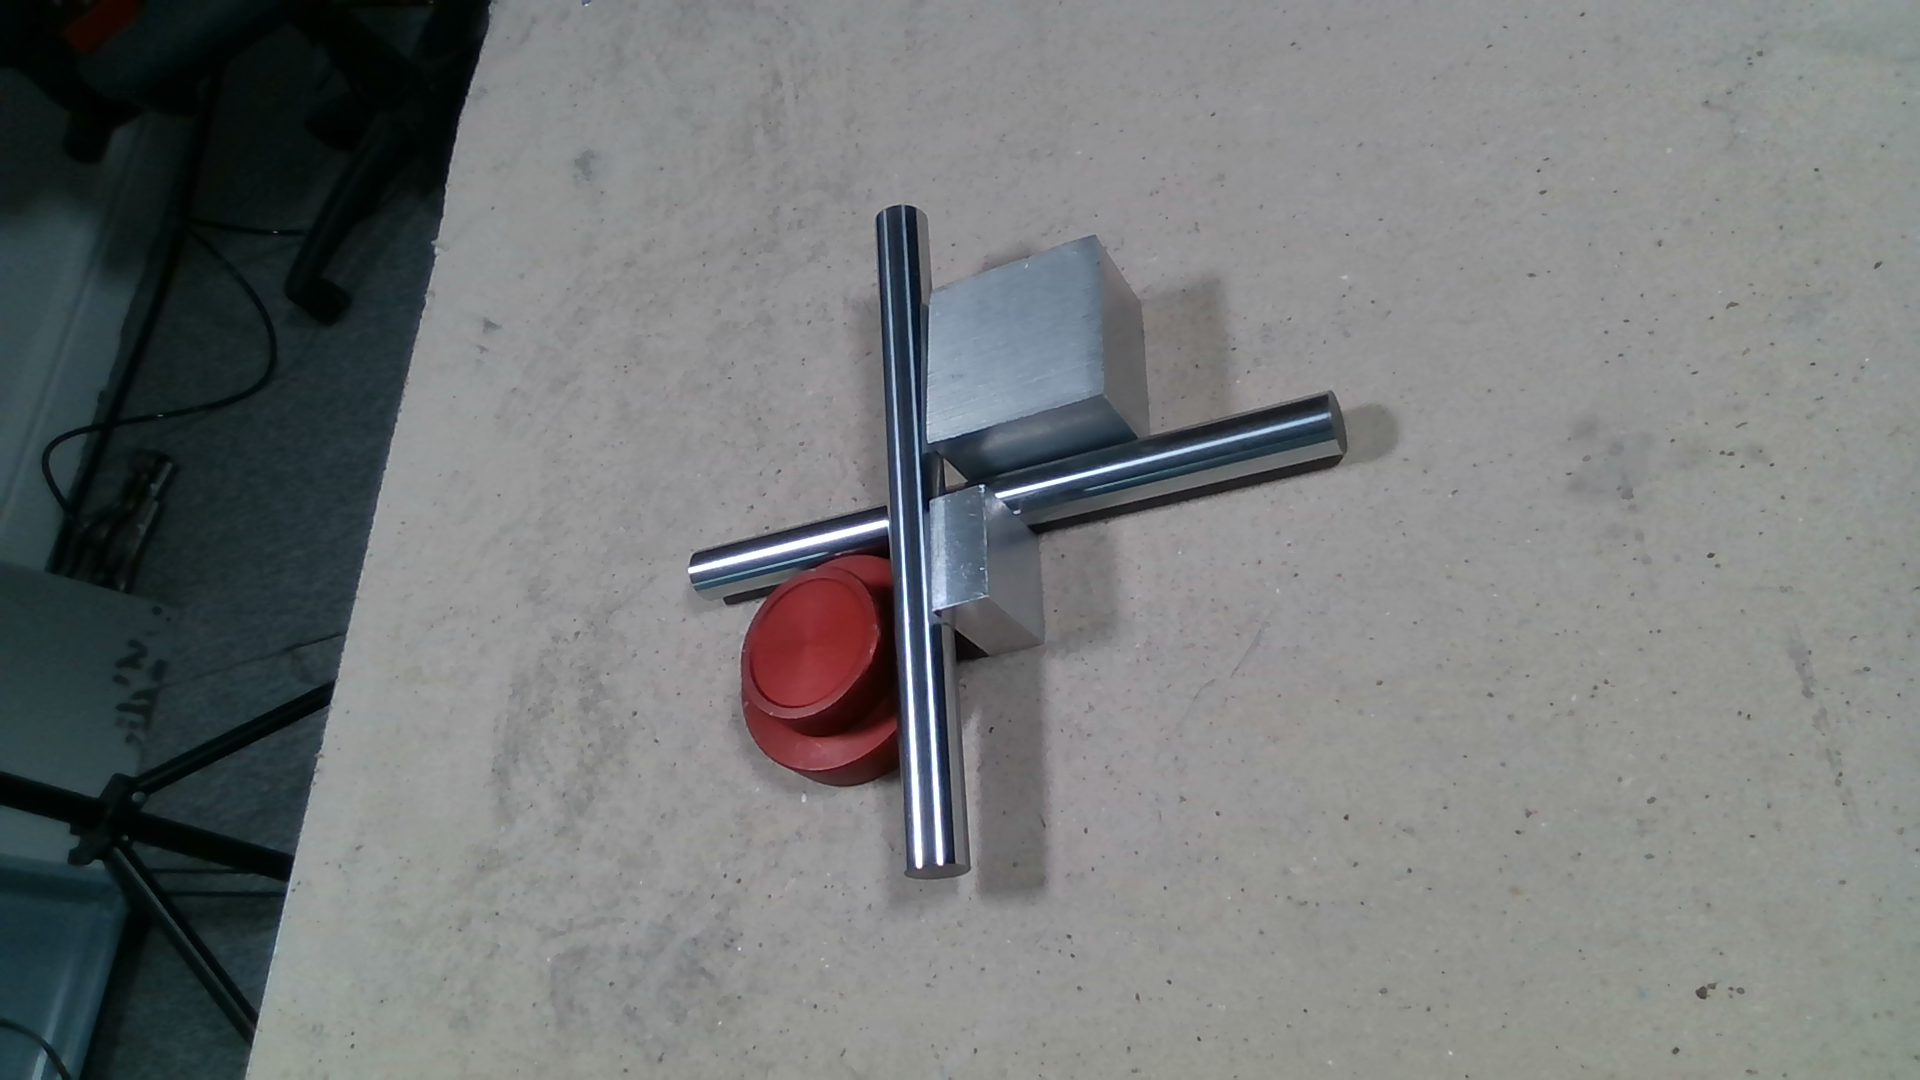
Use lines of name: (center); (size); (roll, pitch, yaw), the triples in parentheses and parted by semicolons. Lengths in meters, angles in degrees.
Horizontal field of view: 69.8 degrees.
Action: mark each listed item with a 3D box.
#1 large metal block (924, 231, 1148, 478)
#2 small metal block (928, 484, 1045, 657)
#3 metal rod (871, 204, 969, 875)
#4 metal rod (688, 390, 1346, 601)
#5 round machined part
large metal block: (0.033, -0.074, 0.588); (0.080, 0.050, 0.080); (-14, 59, 25)
small metal block: (0.011, 0.013, 0.556); (0.025, 0.050, 0.050); (-16, 58, 24)
metal rod: (-0.019, -0.012, 0.572); (0.025, 0.025, 0.299); (-16, 62, 24)
metal rod: (0.011, -0.014, 0.586); (0.300, 0.025, 0.025); (-13, 59, 26)
round machined part: (-0.054, 0.050, 0.580); (0.098, 0.042, 0.098); (-14, 59, 25)
